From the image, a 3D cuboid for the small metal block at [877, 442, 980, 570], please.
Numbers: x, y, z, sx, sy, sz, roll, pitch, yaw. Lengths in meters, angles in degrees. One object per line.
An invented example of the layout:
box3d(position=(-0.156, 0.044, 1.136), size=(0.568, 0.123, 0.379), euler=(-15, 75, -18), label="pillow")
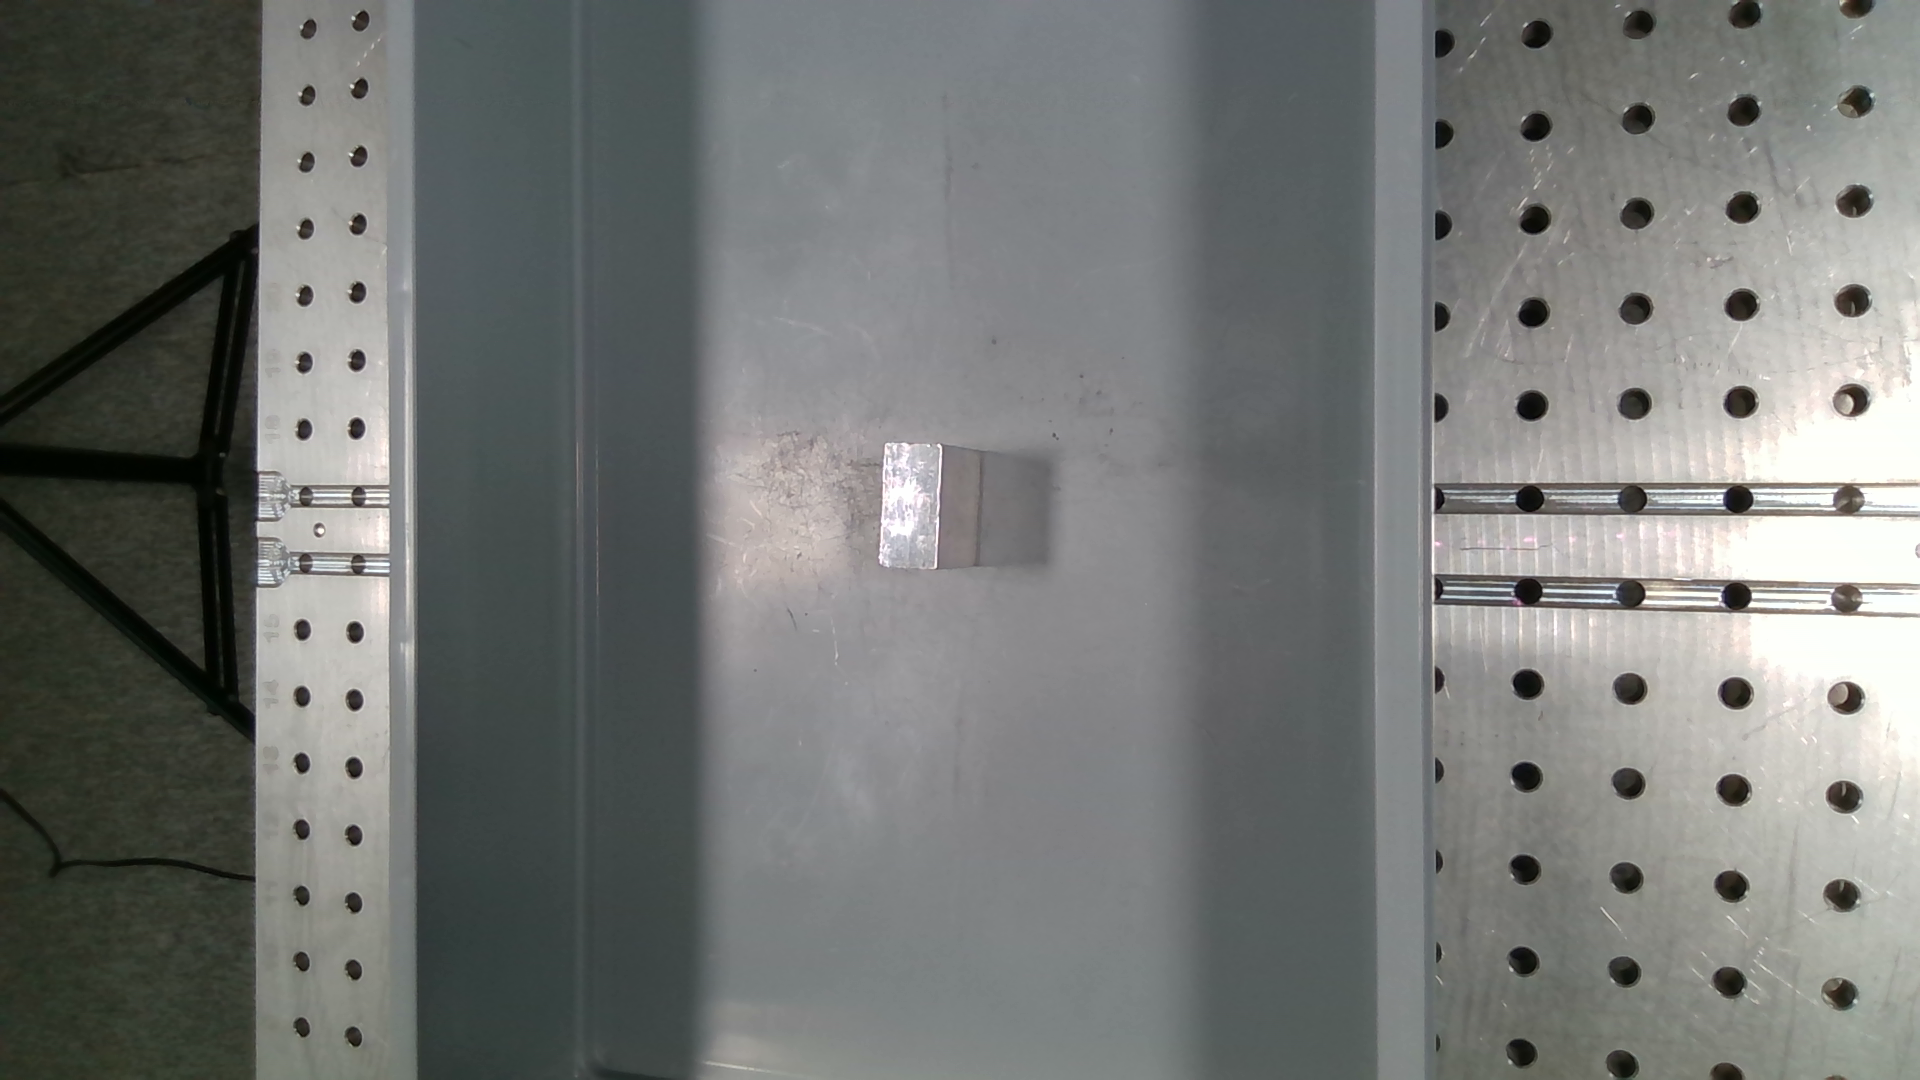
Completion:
box3d(position=(-0.012, -0.014, 0.573), size=(0.025, 0.050, 0.050), euler=(3, 92, 20), label="small metal block")
